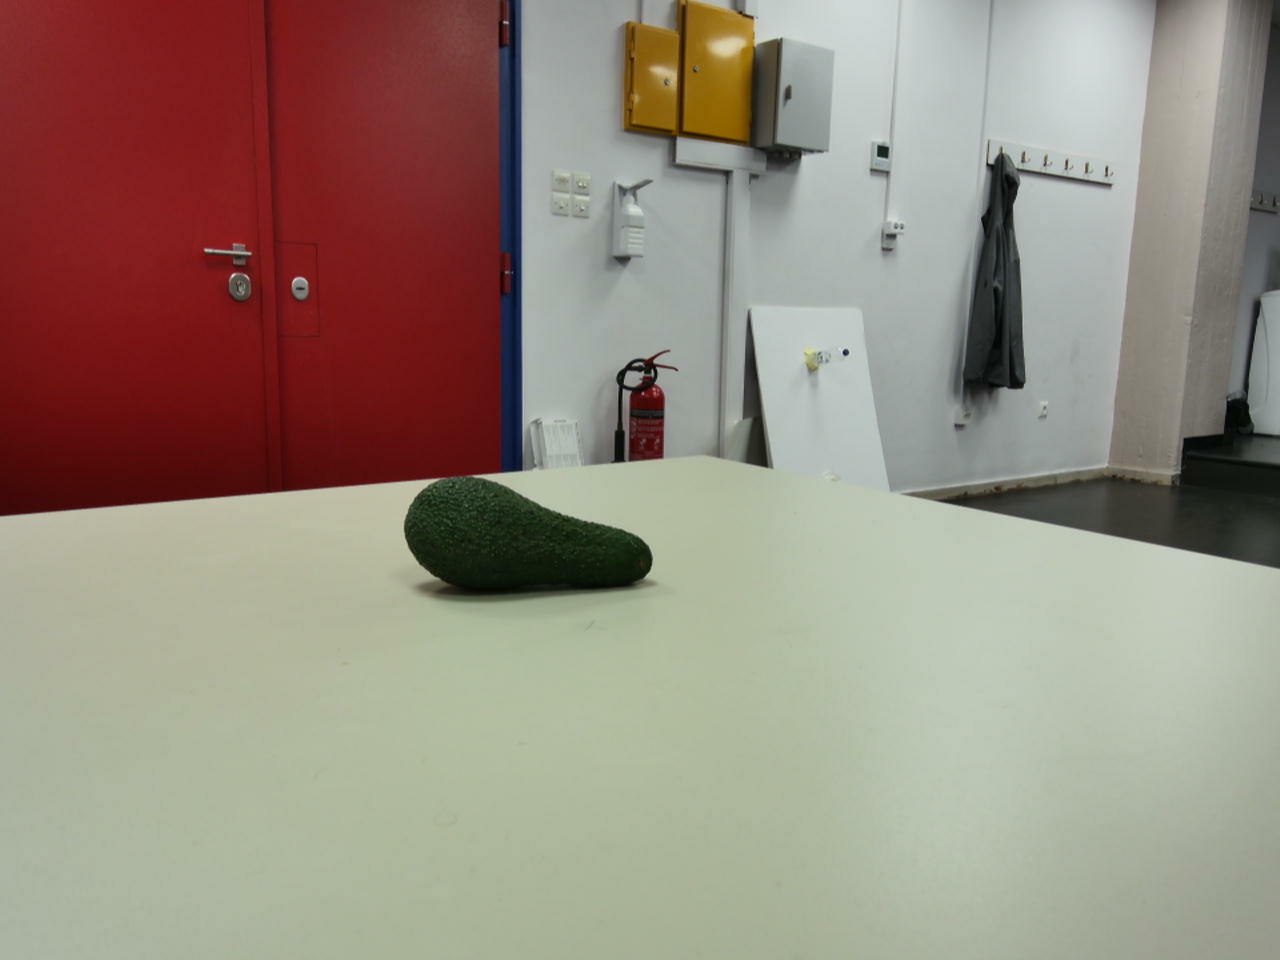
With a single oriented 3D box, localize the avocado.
[{"bbox_3d":[-0.065,0.029,0.580,0.141,0.067,0.063,-3,8,-21],"label":"avocado"}]
